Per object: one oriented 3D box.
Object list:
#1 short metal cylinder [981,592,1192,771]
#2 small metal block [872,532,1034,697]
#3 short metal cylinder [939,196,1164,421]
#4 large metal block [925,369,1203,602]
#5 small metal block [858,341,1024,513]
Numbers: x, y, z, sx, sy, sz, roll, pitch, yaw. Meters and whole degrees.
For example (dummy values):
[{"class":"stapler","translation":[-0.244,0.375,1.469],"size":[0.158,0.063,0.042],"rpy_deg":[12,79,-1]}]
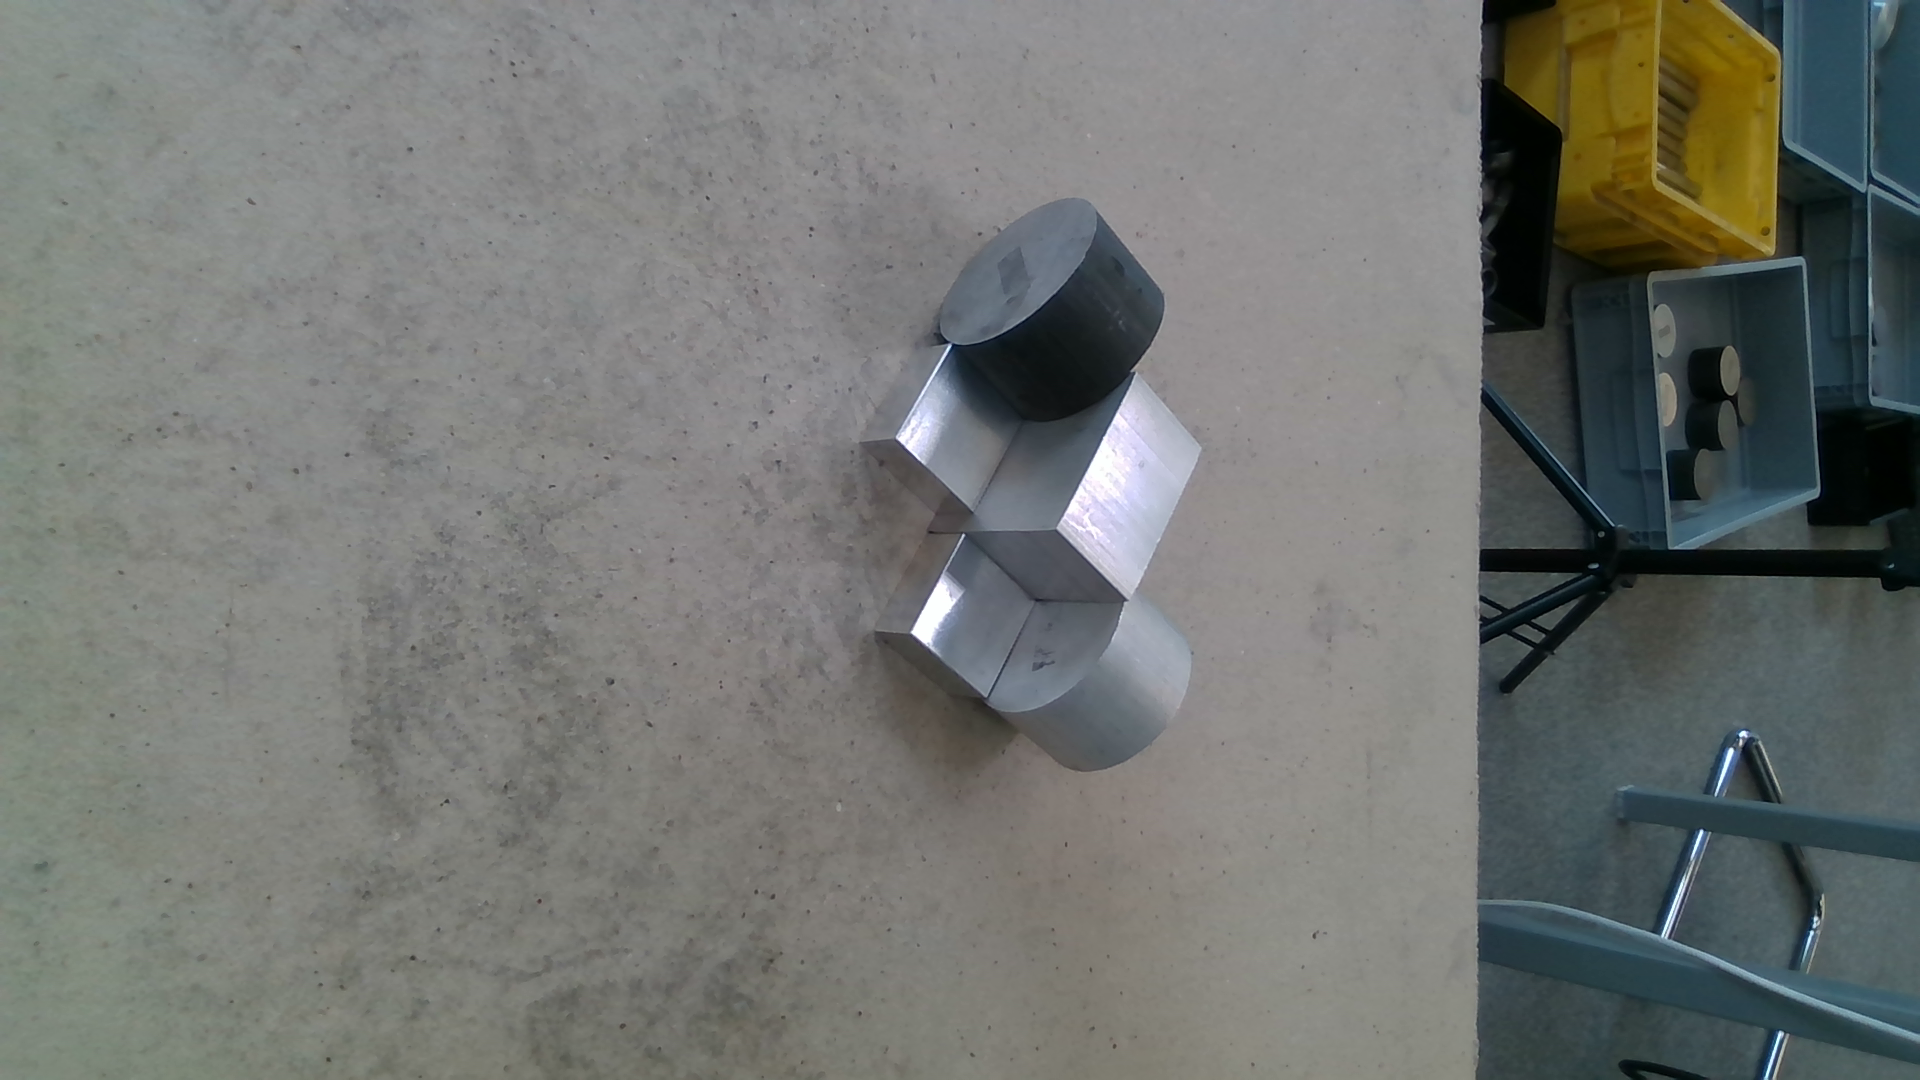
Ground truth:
[{"class":"short metal cylinder","translation":[0.052,0.052,0.592],"size":[0.050,0.080,0.080],"rpy_deg":[43,64,-32]},{"class":"small metal block","translation":[-0.002,0.031,0.583],"size":[0.050,0.025,0.050],"rpy_deg":[43,64,-32]},{"class":"short metal cylinder","translation":[0.038,-0.097,0.580],"size":[0.050,0.080,0.080],"rpy_deg":[42,64,-32]},{"class":"large metal block","translation":[0.044,-0.022,0.586],"size":[0.050,0.080,0.080],"rpy_deg":[42,64,-32]},{"class":"small metal block","translation":[-0.007,-0.047,0.578],"size":[0.050,0.025,0.050],"rpy_deg":[43,64,-32]}]
